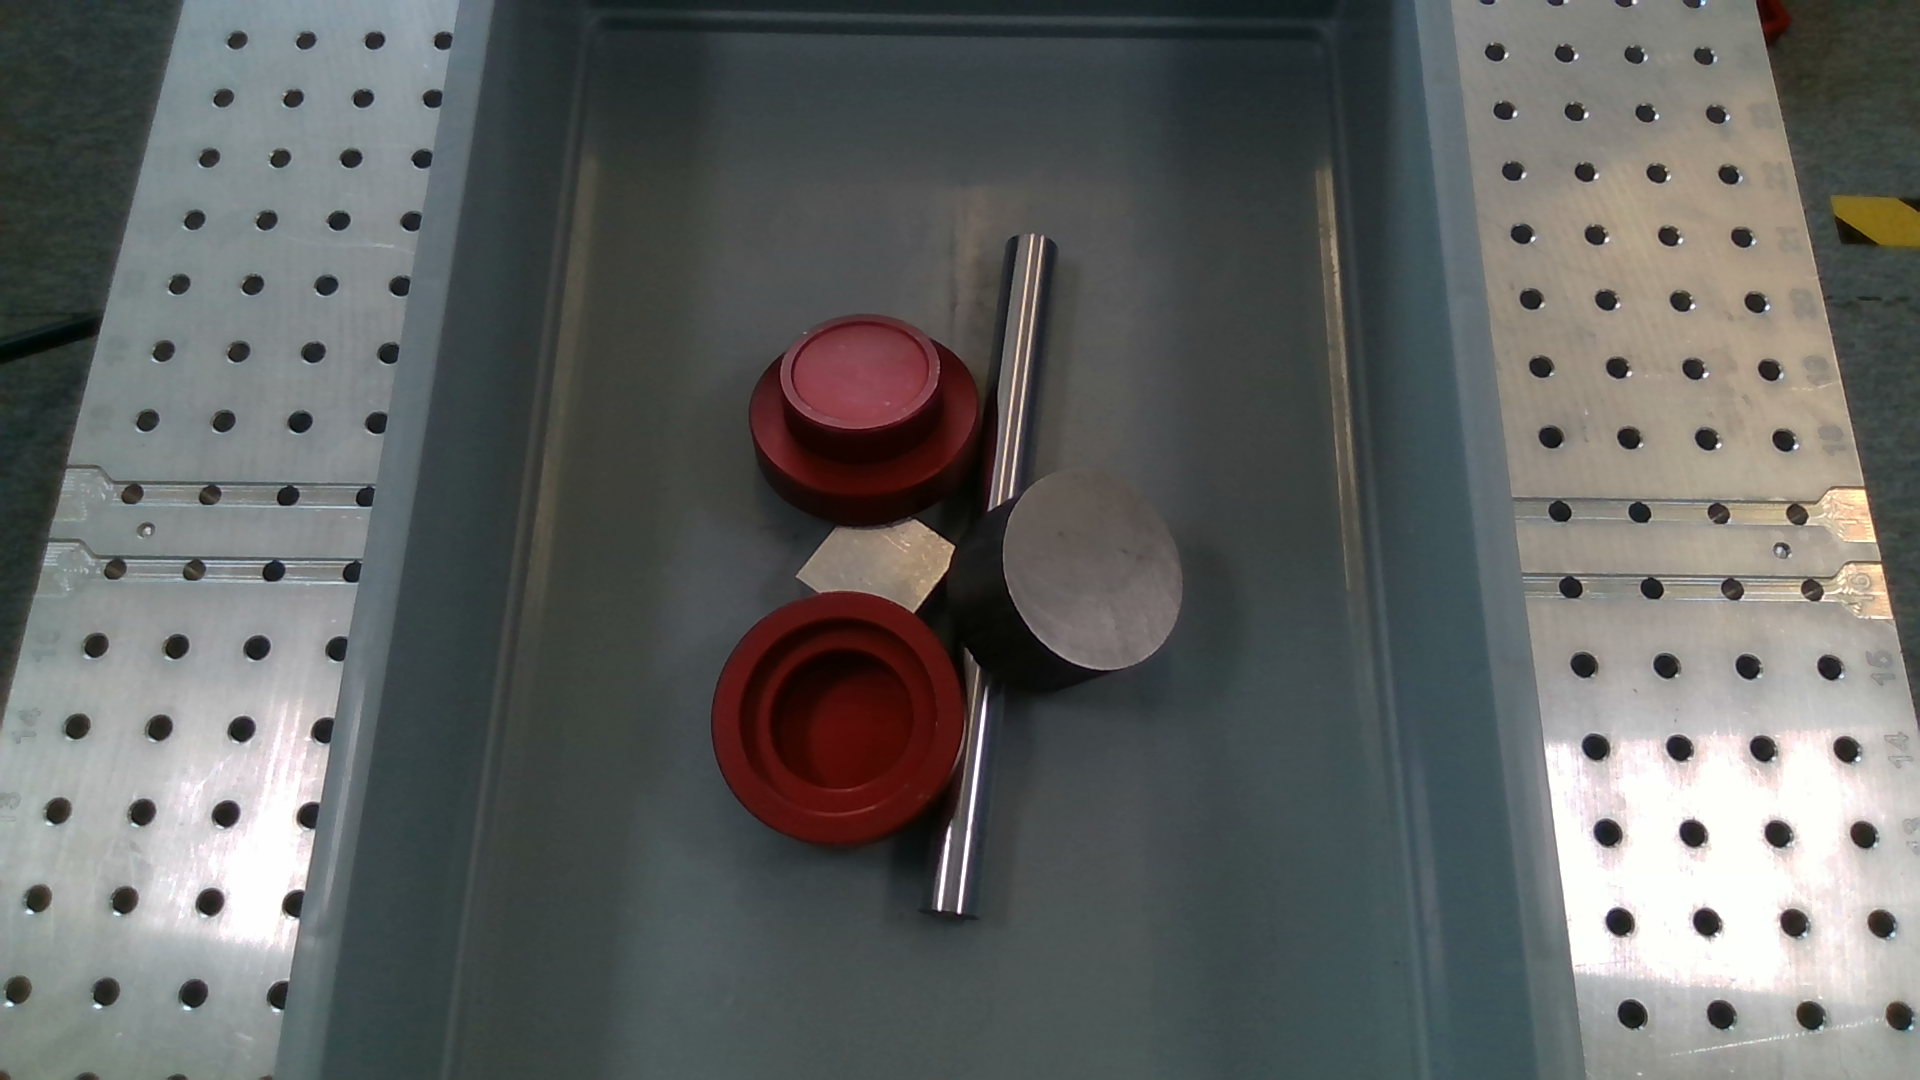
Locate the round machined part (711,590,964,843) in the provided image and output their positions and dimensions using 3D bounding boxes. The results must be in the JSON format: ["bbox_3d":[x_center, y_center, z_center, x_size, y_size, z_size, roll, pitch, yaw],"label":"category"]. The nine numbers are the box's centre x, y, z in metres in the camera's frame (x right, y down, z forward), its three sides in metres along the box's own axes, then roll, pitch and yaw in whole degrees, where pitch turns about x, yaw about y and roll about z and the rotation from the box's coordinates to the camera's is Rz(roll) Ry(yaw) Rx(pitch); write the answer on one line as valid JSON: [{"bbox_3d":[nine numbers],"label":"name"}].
[{"bbox_3d":[-0.046,0.072,0.550,0.098,0.042,0.098,-1,73,2],"label":"round machined part"}]

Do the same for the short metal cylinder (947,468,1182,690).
[{"bbox_3d":[0.042,0.017,0.552,0.080,0.050,0.080,8,72,-24],"label":"short metal cylinder"}]

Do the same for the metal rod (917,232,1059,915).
[{"bbox_3d":[0.014,0.005,0.585,0.025,0.025,0.299,7,71,2],"label":"metal rod"}]

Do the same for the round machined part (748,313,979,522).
[{"bbox_3d":[-0.041,-0.058,0.585,0.098,0.042,0.098,0,52,1],"label":"round machined part"}]

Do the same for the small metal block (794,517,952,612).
[{"bbox_3d":[-0.034,0.014,0.582,0.050,0.025,0.050,35,74,11],"label":"small metal block"}]
